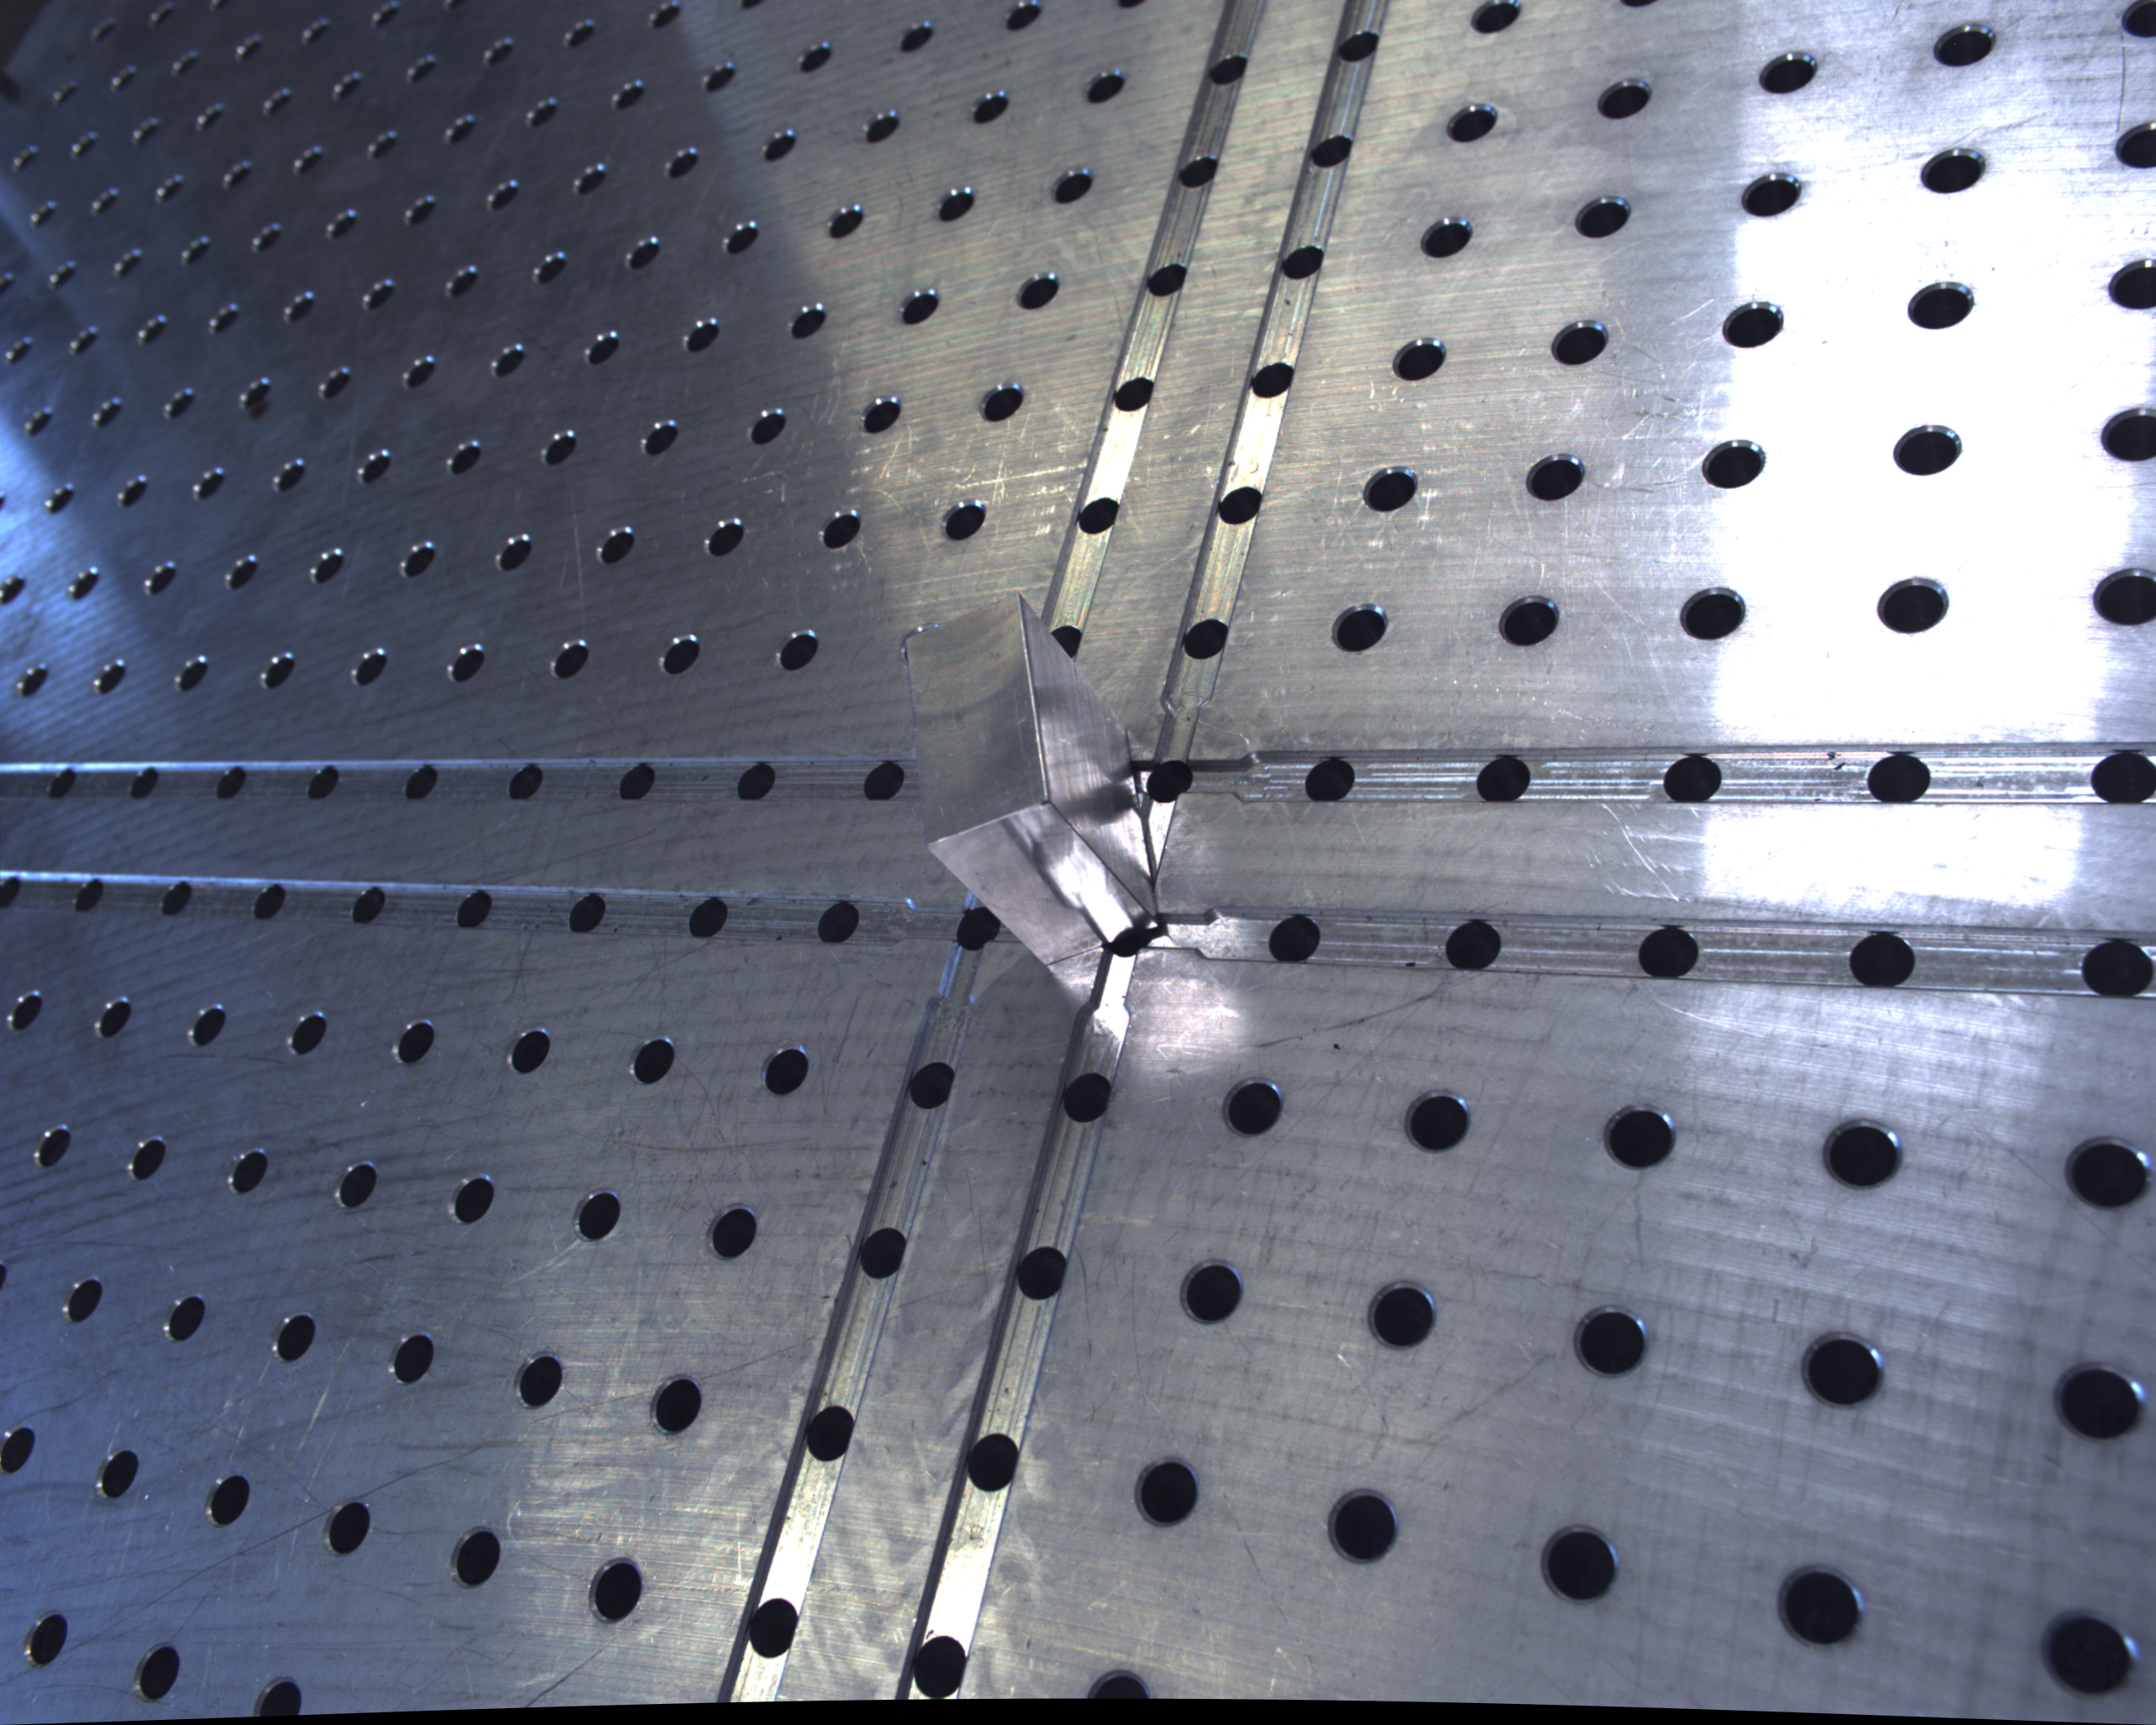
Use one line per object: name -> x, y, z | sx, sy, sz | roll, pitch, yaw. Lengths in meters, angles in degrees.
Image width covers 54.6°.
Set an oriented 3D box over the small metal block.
small metal block -> -0.009, -0.016, 0.407 | 0.025, 0.050, 0.050 | -20, 54, 16
